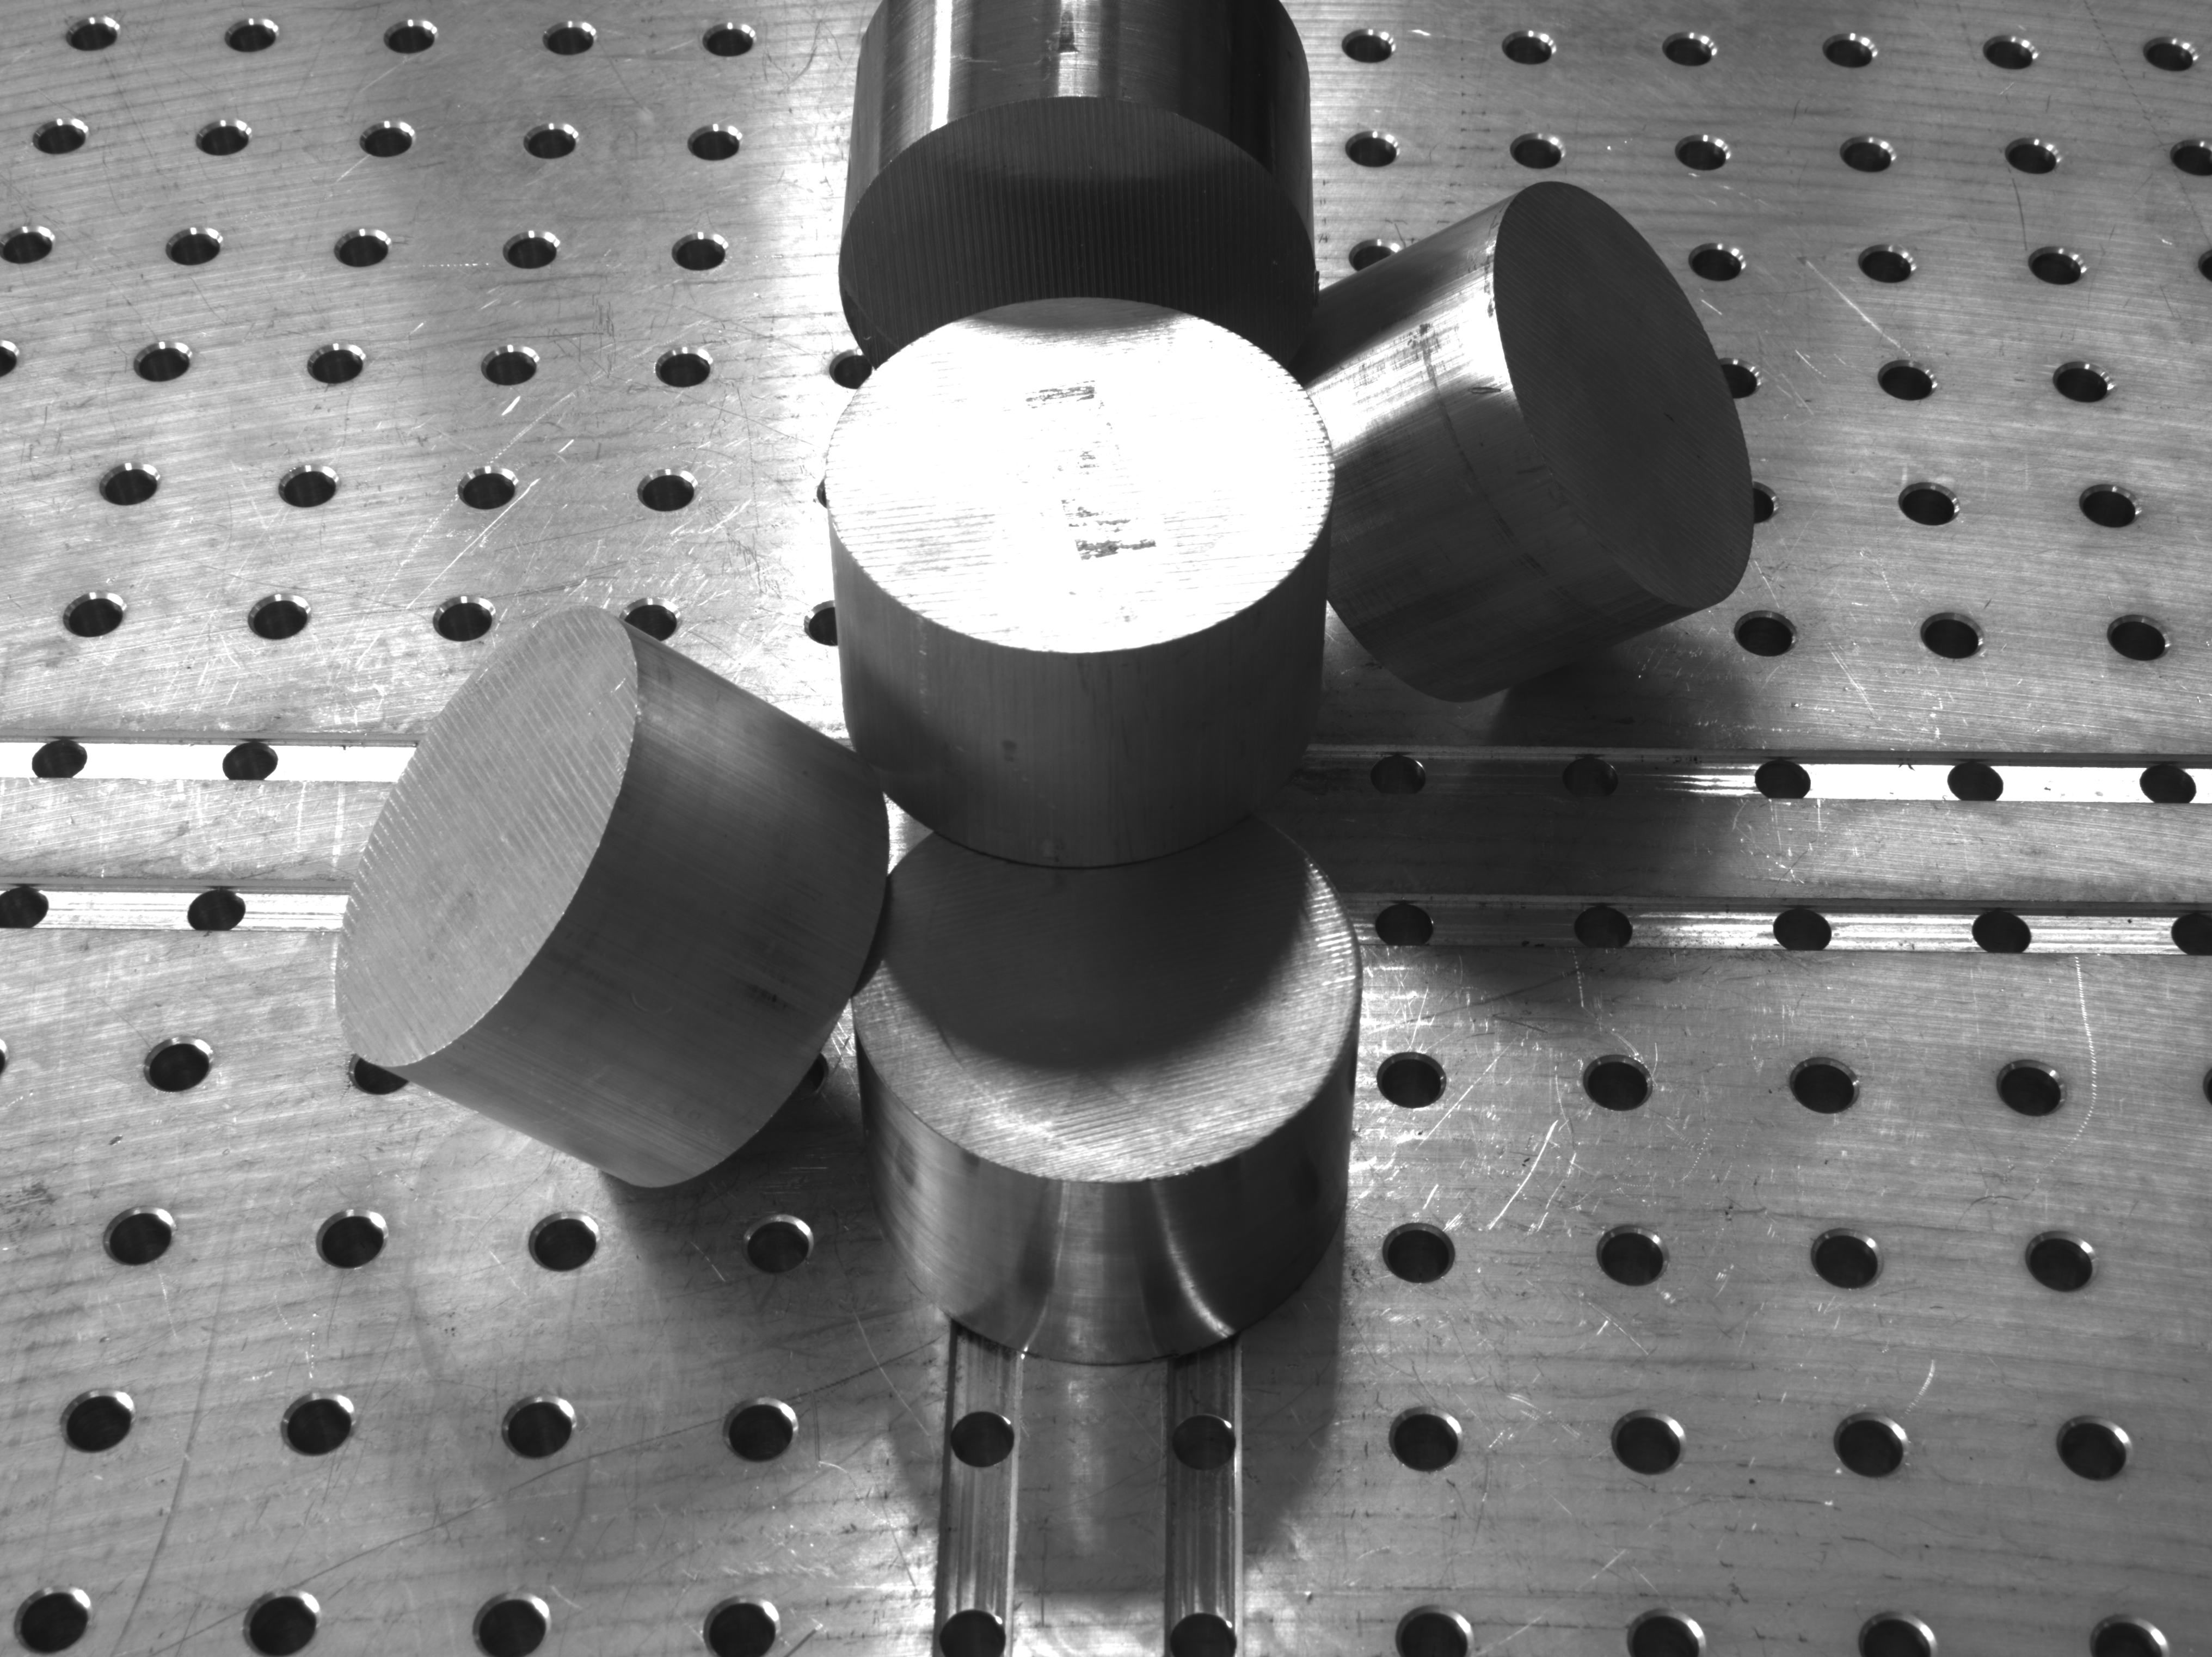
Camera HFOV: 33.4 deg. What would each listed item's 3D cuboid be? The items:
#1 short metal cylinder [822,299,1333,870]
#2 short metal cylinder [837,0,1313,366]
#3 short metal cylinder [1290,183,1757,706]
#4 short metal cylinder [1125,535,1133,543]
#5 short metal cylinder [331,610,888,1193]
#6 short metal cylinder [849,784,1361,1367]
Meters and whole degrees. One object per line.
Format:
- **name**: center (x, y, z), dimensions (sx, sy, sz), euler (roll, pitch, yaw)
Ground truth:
- **short metal cylinder**: center (-0.004, -0.040, 0.597), dimensions (0.080, 0.050, 0.080), euler (0, 50, 0)
- **short metal cylinder**: center (-0.005, -0.111, 0.636), dimensions (0.080, 0.080, 0.050), euler (0, 50, 0)
- **short metal cylinder**: center (0.073, -0.068, 0.658), dimensions (0.050, 0.080, 0.080), euler (-23, 38, 36)
- **short metal cylinder**: center (-0.002, -0.065, 0.684), dimensions (0.080, 0.050, 0.080), euler (0, 50, 0)
- **short metal cylinder**: center (-0.080, 0.012, 0.593), dimensions (0.050, 0.080, 0.080), euler (31, 40, -33)
- **short metal cylinder**: center (0.000, 0.039, 0.596), dimensions (0.080, 0.050, 0.080), euler (0, 51, 0)
